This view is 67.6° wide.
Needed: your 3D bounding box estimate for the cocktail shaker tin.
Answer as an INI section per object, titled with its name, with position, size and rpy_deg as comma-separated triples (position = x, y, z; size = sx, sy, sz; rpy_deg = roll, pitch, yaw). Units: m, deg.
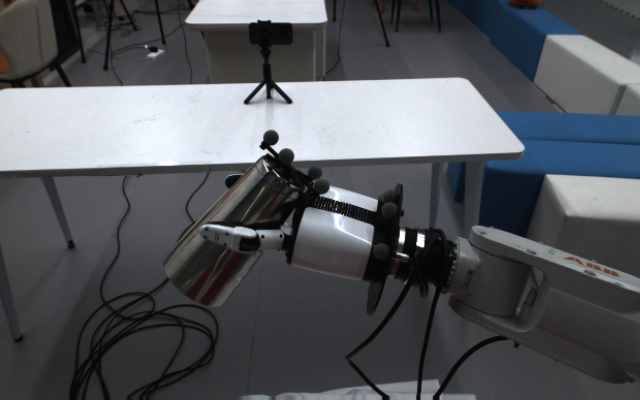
[cocktail shaker tin]
position = -0.094, 0.029, 0.569
size = 0.093, 0.170, 0.093
rpy_deg = 41, 12, -11
